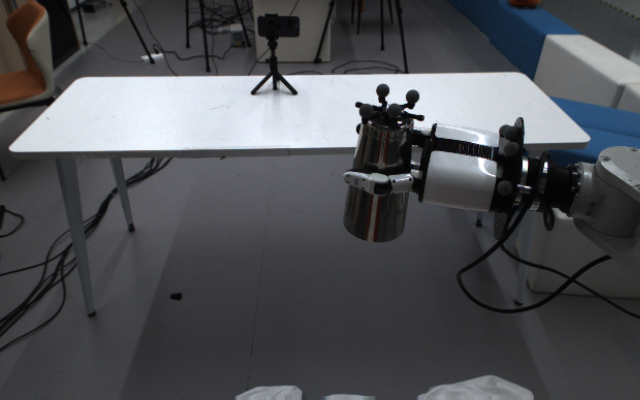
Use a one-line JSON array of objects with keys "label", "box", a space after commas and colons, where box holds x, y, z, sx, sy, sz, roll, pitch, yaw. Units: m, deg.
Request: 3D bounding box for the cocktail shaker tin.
[{"label": "cocktail shaker tin", "box": [0.085, -0.038, 0.664, 0.093, 0.170, 0.093, 2, 36, -1]}]
